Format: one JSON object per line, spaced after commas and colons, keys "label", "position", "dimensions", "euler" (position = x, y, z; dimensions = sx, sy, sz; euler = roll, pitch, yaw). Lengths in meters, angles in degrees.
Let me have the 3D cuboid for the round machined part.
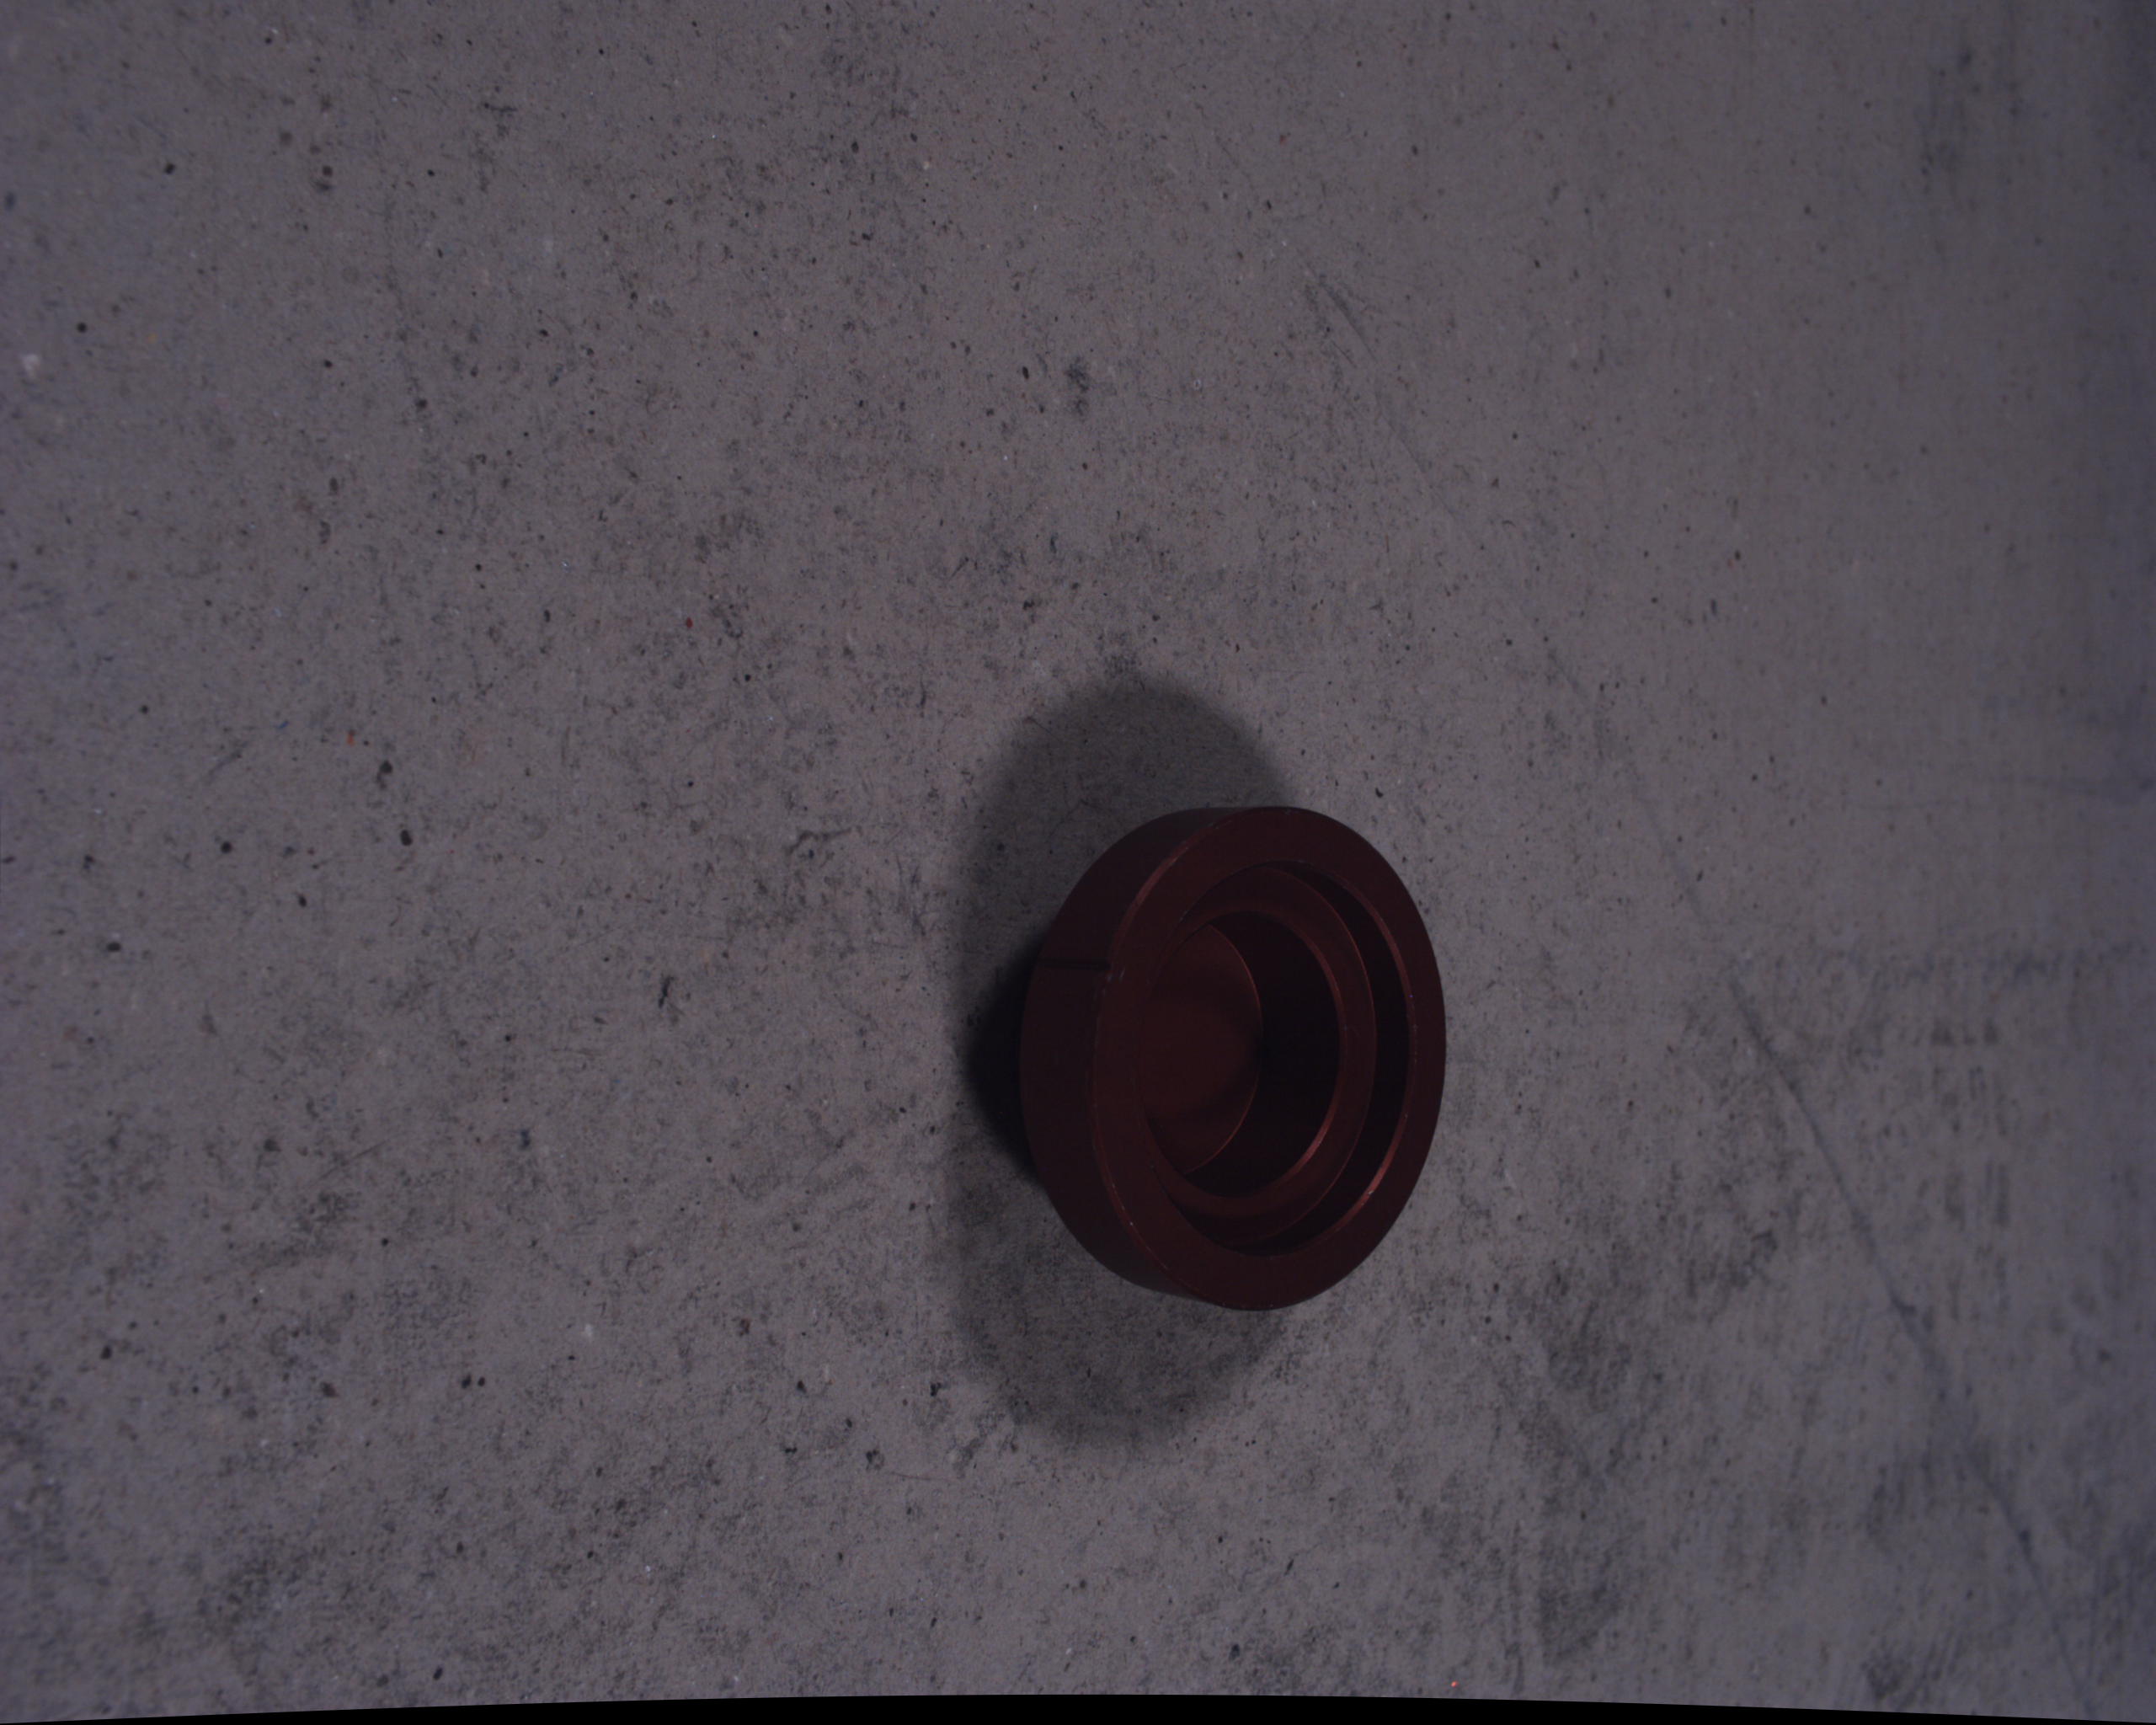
{"label": "round machined part", "position": [0.026, 0.037, 0.419], "dimensions": [0.099, 0.042, 0.097], "euler": [0, 90, -40]}
